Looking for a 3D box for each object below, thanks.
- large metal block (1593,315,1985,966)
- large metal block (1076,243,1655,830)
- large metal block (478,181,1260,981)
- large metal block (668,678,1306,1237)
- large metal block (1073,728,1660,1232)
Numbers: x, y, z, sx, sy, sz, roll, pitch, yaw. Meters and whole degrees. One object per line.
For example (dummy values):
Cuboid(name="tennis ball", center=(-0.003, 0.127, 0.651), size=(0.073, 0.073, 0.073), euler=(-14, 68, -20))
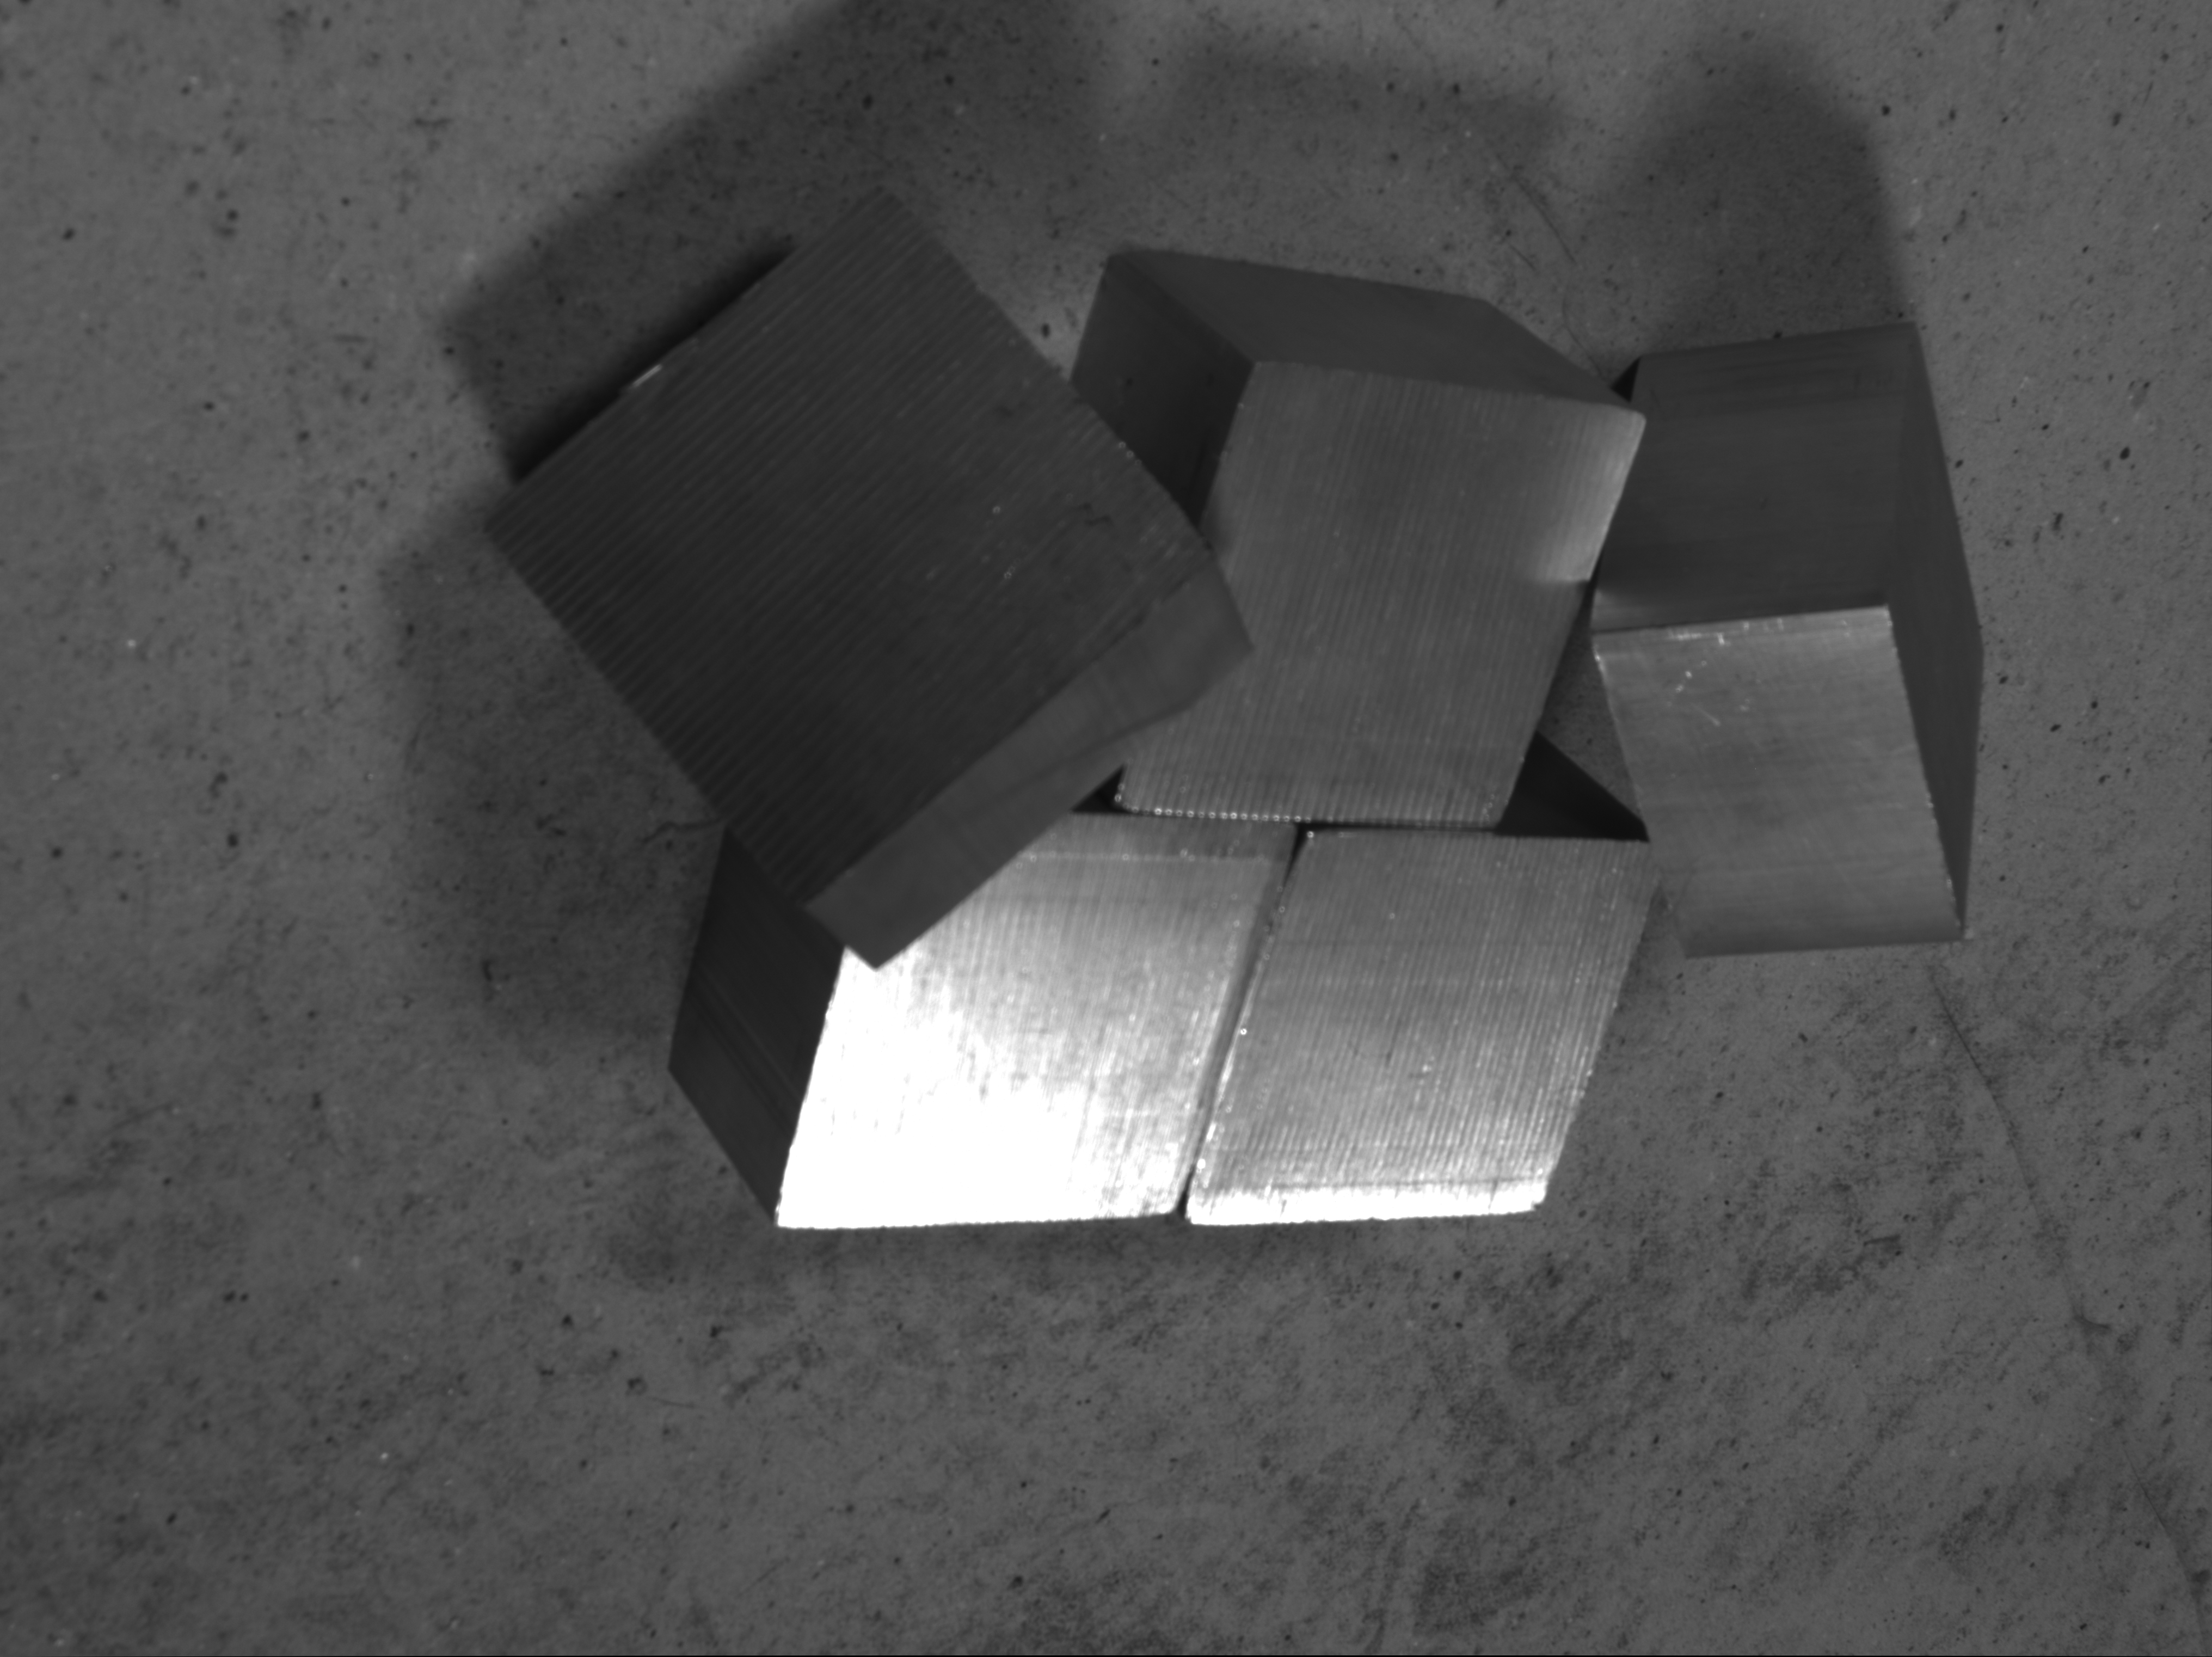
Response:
Cuboid(name="large metal block", center=(0.126, -0.033, 0.660), size=(0.050, 0.080, 0.080), euler=(-5, 132, 21))
Cuboid(name="large metal block", center=(0.036, -0.048, 0.626), size=(0.080, 0.050, 0.080), euler=(3, 117, -32))
Cuboid(name="large metal block", center=(-0.035, -0.037, 0.563), size=(0.080, 0.080, 0.050), euler=(-40, 165, -2))
Cuboid(name="large metal block", center=(-0.022, 0.022, 0.635), size=(0.080, 0.050, 0.080), euler=(1, 117, -31))
Cuboid(name="large metal block", center=(0.048, 0.026, 0.676), size=(0.080, 0.050, 0.080), euler=(1, 117, -31))
